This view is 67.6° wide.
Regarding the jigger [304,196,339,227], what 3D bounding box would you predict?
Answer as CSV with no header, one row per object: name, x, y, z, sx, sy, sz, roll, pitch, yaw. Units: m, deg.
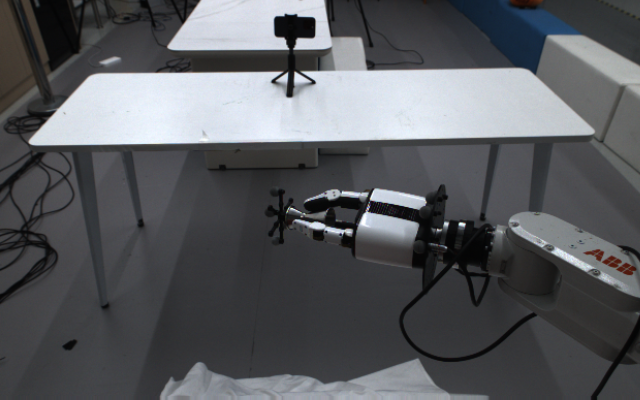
jigger,-0.009,0.027,0.754,0.071,0.043,0.043,4,33,22
